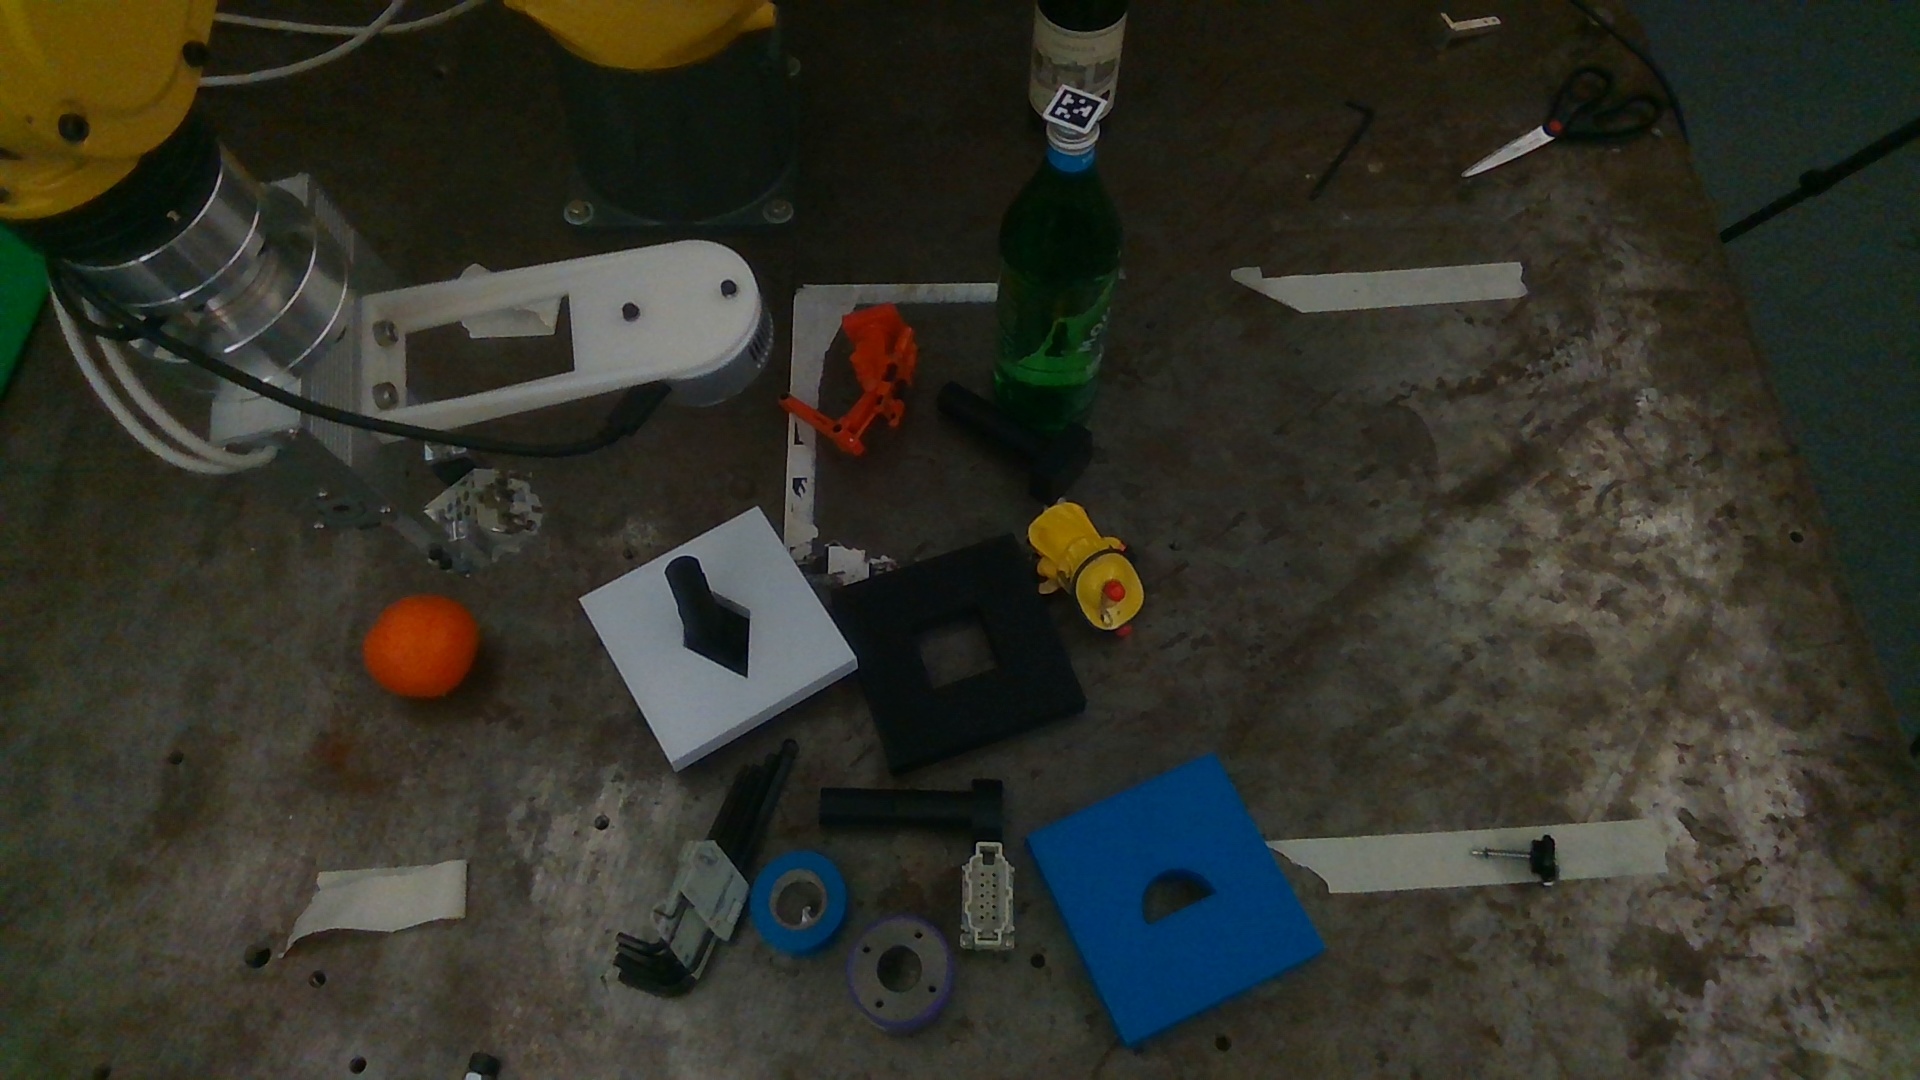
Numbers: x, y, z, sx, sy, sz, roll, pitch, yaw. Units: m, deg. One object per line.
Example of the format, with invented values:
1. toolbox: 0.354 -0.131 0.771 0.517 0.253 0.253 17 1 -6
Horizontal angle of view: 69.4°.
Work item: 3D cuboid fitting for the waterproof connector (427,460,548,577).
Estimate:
1. waterproof connector: -0.236 -0.010 0.691 0.069 0.038 0.037 -32 59 31
